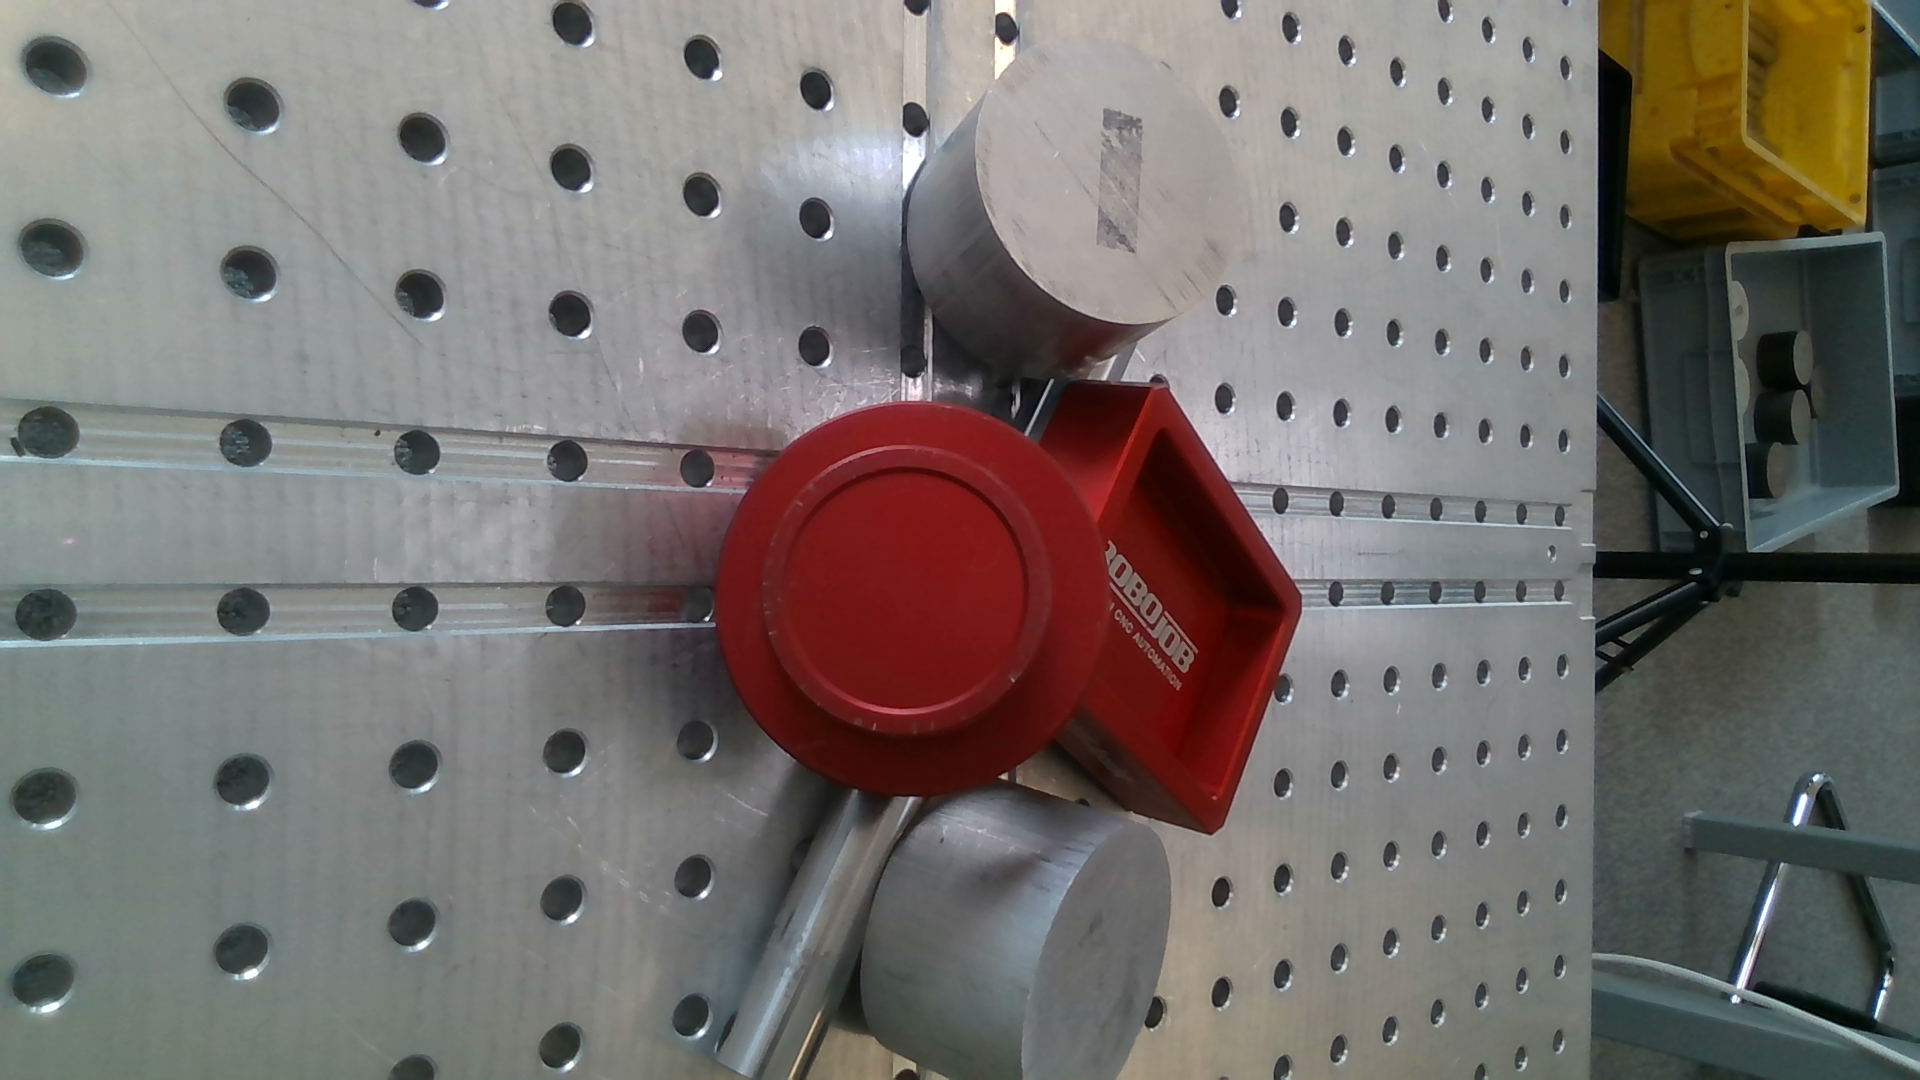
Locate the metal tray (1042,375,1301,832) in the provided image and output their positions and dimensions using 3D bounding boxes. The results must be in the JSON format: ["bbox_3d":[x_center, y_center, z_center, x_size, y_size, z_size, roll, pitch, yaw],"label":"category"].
[{"bbox_3d":[0.058,0.023,0.421,0.130,0.030,0.090,47,61,-45],"label":"metal tray"}]

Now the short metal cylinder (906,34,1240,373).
[{"bbox_3d":[0.031,-0.093,0.388,0.080,0.050,0.080,5,78,-23],"label":"short metal cylinder"}]

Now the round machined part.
[{"bbox_3d":[-0.012,0.013,0.337,0.098,0.042,0.098,0,84,2],"label":"round machined part"}]

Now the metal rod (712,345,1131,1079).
[{"bbox_3d":[0.008,0.008,0.401,0.025,0.025,0.299,39,66,-33],"label":"metal rod"}]

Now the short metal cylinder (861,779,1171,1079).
[{"bbox_3d":[0.017,0.109,0.377,0.080,0.050,0.080,-25,121,-51],"label":"short metal cylinder"}]
